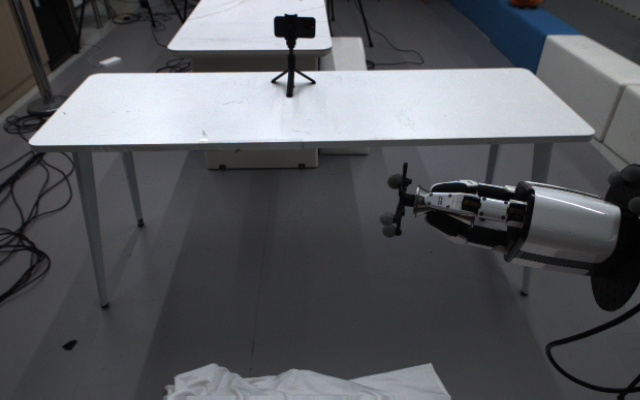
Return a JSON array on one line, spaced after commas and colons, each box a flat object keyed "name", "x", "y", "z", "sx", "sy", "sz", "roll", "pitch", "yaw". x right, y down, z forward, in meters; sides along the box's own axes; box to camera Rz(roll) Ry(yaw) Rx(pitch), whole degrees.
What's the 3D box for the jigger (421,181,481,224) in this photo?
[{"name": "jigger", "x": 0.153, "y": 0.002, "z": 0.565, "sx": 0.071, "sy": 0.043, "sz": 0.043, "roll": 8, "pitch": 35, "yaw": 15}]
